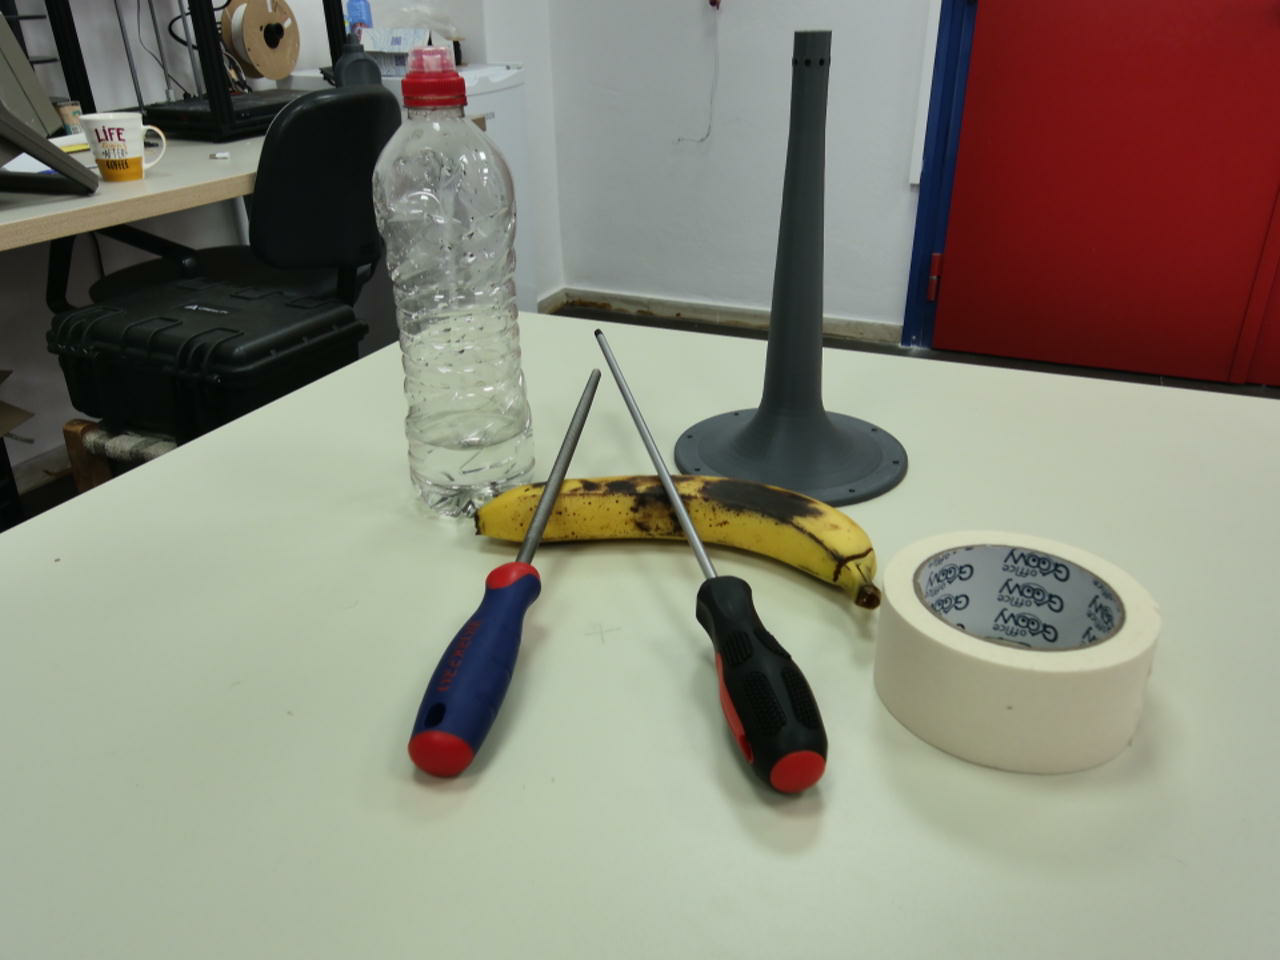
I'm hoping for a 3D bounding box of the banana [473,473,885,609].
[{"bbox_3d":[0.025,0.024,0.529,0.222,0.037,0.084,11,27,23],"label":"banana"}]
